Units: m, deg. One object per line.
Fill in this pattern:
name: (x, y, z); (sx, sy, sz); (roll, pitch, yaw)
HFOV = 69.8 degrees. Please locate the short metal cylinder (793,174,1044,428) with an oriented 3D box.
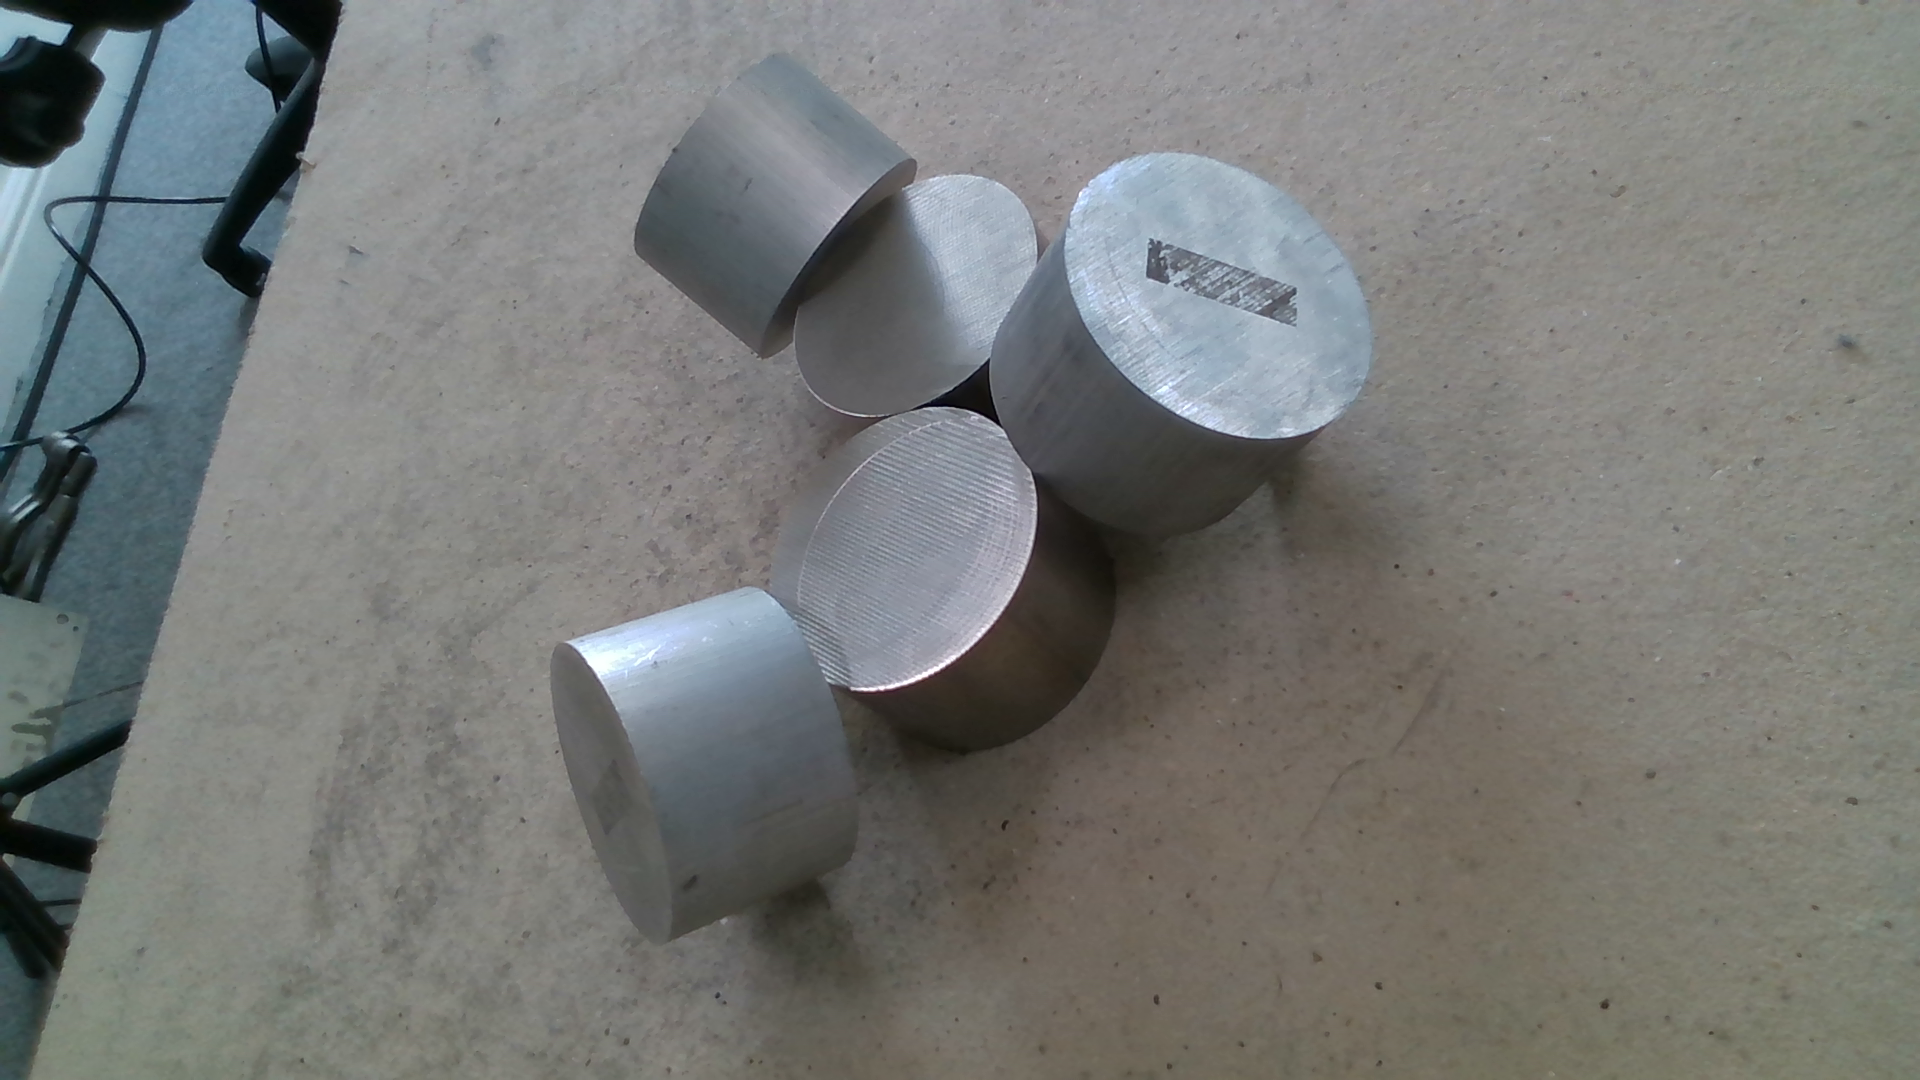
short metal cylinder: (-0.002, -0.061, 0.410); (0.080, 0.050, 0.080); (-14, 59, 25)

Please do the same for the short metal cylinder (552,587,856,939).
short metal cylinder: (-0.069, 0.057, 0.362); (0.050, 0.080, 0.080); (-17, 44, -28)

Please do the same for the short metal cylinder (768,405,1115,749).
short metal cylinder: (-0.005, 0.011, 0.374); (0.080, 0.050, 0.080); (-14, 59, 25)

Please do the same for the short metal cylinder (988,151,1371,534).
short metal cylinder: (0.053, -0.048, 0.343); (0.050, 0.080, 0.080); (127, 149, -58)

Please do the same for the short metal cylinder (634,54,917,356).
short metal cylinder: (-0.058, -0.106, 0.442); (0.050, 0.080, 0.080); (39, 89, -1)
